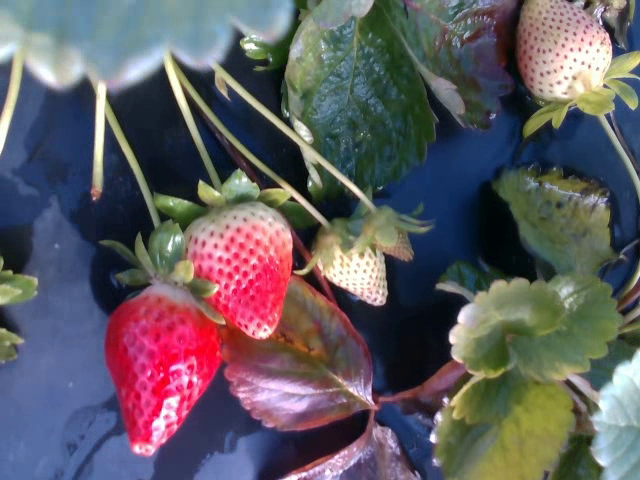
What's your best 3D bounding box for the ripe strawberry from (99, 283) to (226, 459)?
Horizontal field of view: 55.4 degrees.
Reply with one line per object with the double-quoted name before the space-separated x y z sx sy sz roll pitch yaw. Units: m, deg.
"ripe strawberry" -0.056 0.044 0.199 0.044 0.055 0.041 -7 -29 26
